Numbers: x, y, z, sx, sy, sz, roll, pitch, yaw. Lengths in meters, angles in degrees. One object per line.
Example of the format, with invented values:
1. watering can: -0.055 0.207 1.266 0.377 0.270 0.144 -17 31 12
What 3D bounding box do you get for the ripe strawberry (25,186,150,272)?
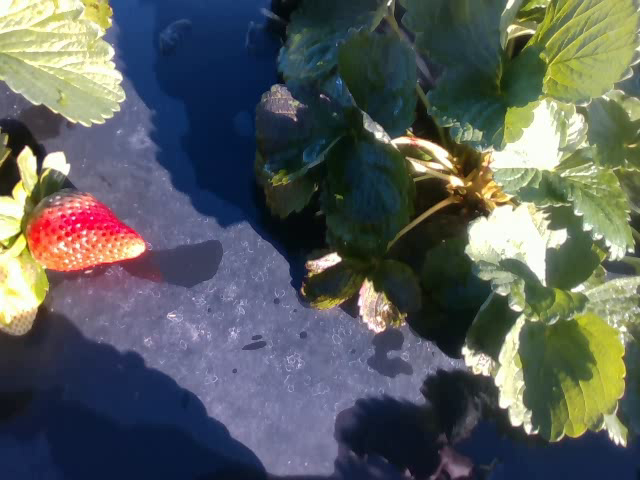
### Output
1. ripe strawberry: -0.113 -0.002 0.300 0.064 0.050 0.052 10 17 4
